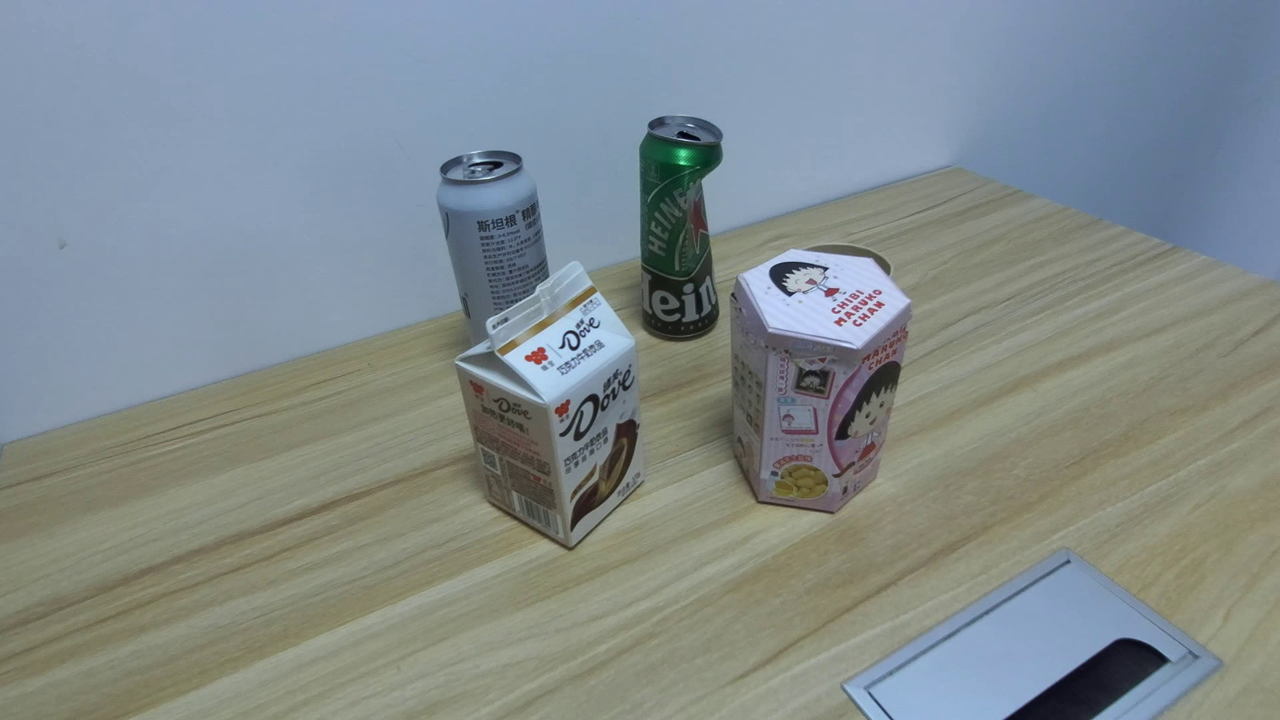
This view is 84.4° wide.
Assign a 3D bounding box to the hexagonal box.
[{"bbox_3d":[0.100,0.013,0.414,0.092,0.135,0.084,-29,43,-31],"label":"hexagonal box"}]

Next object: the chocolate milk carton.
[{"bbox_3d":[-0.050,0.022,0.407,0.073,0.148,0.075,21,41,32],"label":"chocolate milk carton"}]

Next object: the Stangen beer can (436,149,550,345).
[{"bbox_3d":[-0.097,-0.058,0.506,0.067,0.171,0.067,-4,34,3],"label":"Stangen beer can"}]

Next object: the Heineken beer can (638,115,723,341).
[{"bbox_3d":[0.034,-0.098,0.551,0.068,0.168,0.069,-18,39,-24],"label":"Heineken beer can"}]
